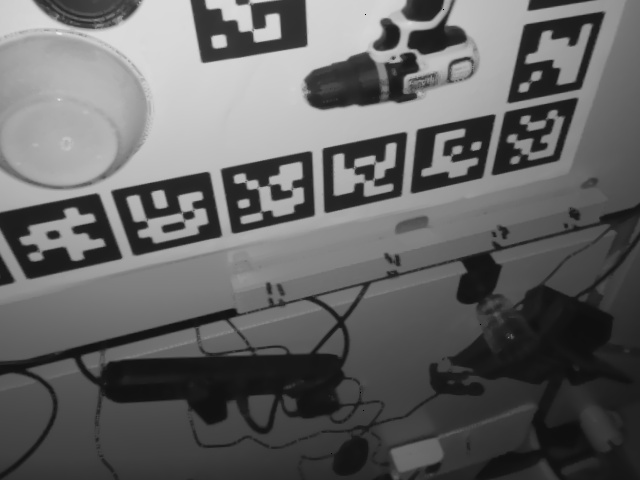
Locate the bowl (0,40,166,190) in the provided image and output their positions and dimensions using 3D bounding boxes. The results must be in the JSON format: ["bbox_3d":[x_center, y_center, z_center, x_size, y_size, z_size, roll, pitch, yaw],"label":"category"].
[{"bbox_3d":[-0.214,-0.095,0.616,0.163,0.055,0.160,-17,145,-11],"label":"bowl"}]

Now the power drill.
[{"bbox_3d":[0.085,-0.211,0.619,0.186,0.057,0.185,-11,139,-8],"label":"power drill"}]

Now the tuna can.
[{"bbox_3d":[-0.169,-0.195,0.533,0.086,0.034,0.085,-11,137,-10],"label":"tuna can"}]
